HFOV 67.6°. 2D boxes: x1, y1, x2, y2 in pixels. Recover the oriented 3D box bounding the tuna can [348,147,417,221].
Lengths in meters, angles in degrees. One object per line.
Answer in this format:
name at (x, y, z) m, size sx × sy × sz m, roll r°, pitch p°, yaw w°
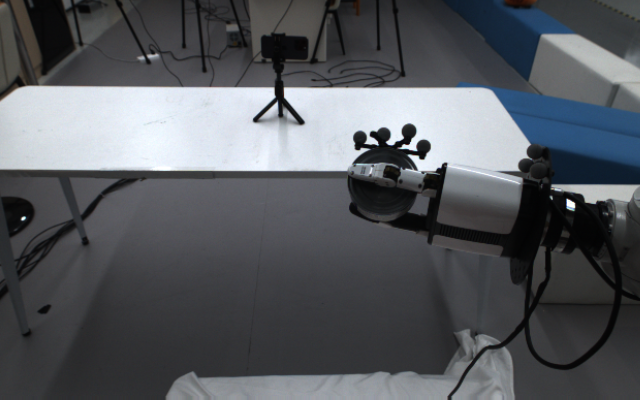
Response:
tuna can at (0.078, -0.021, 0.588) m, size 0.085 × 0.034 × 0.085 m, roll -2°, pitch 70°, yaw 7°
